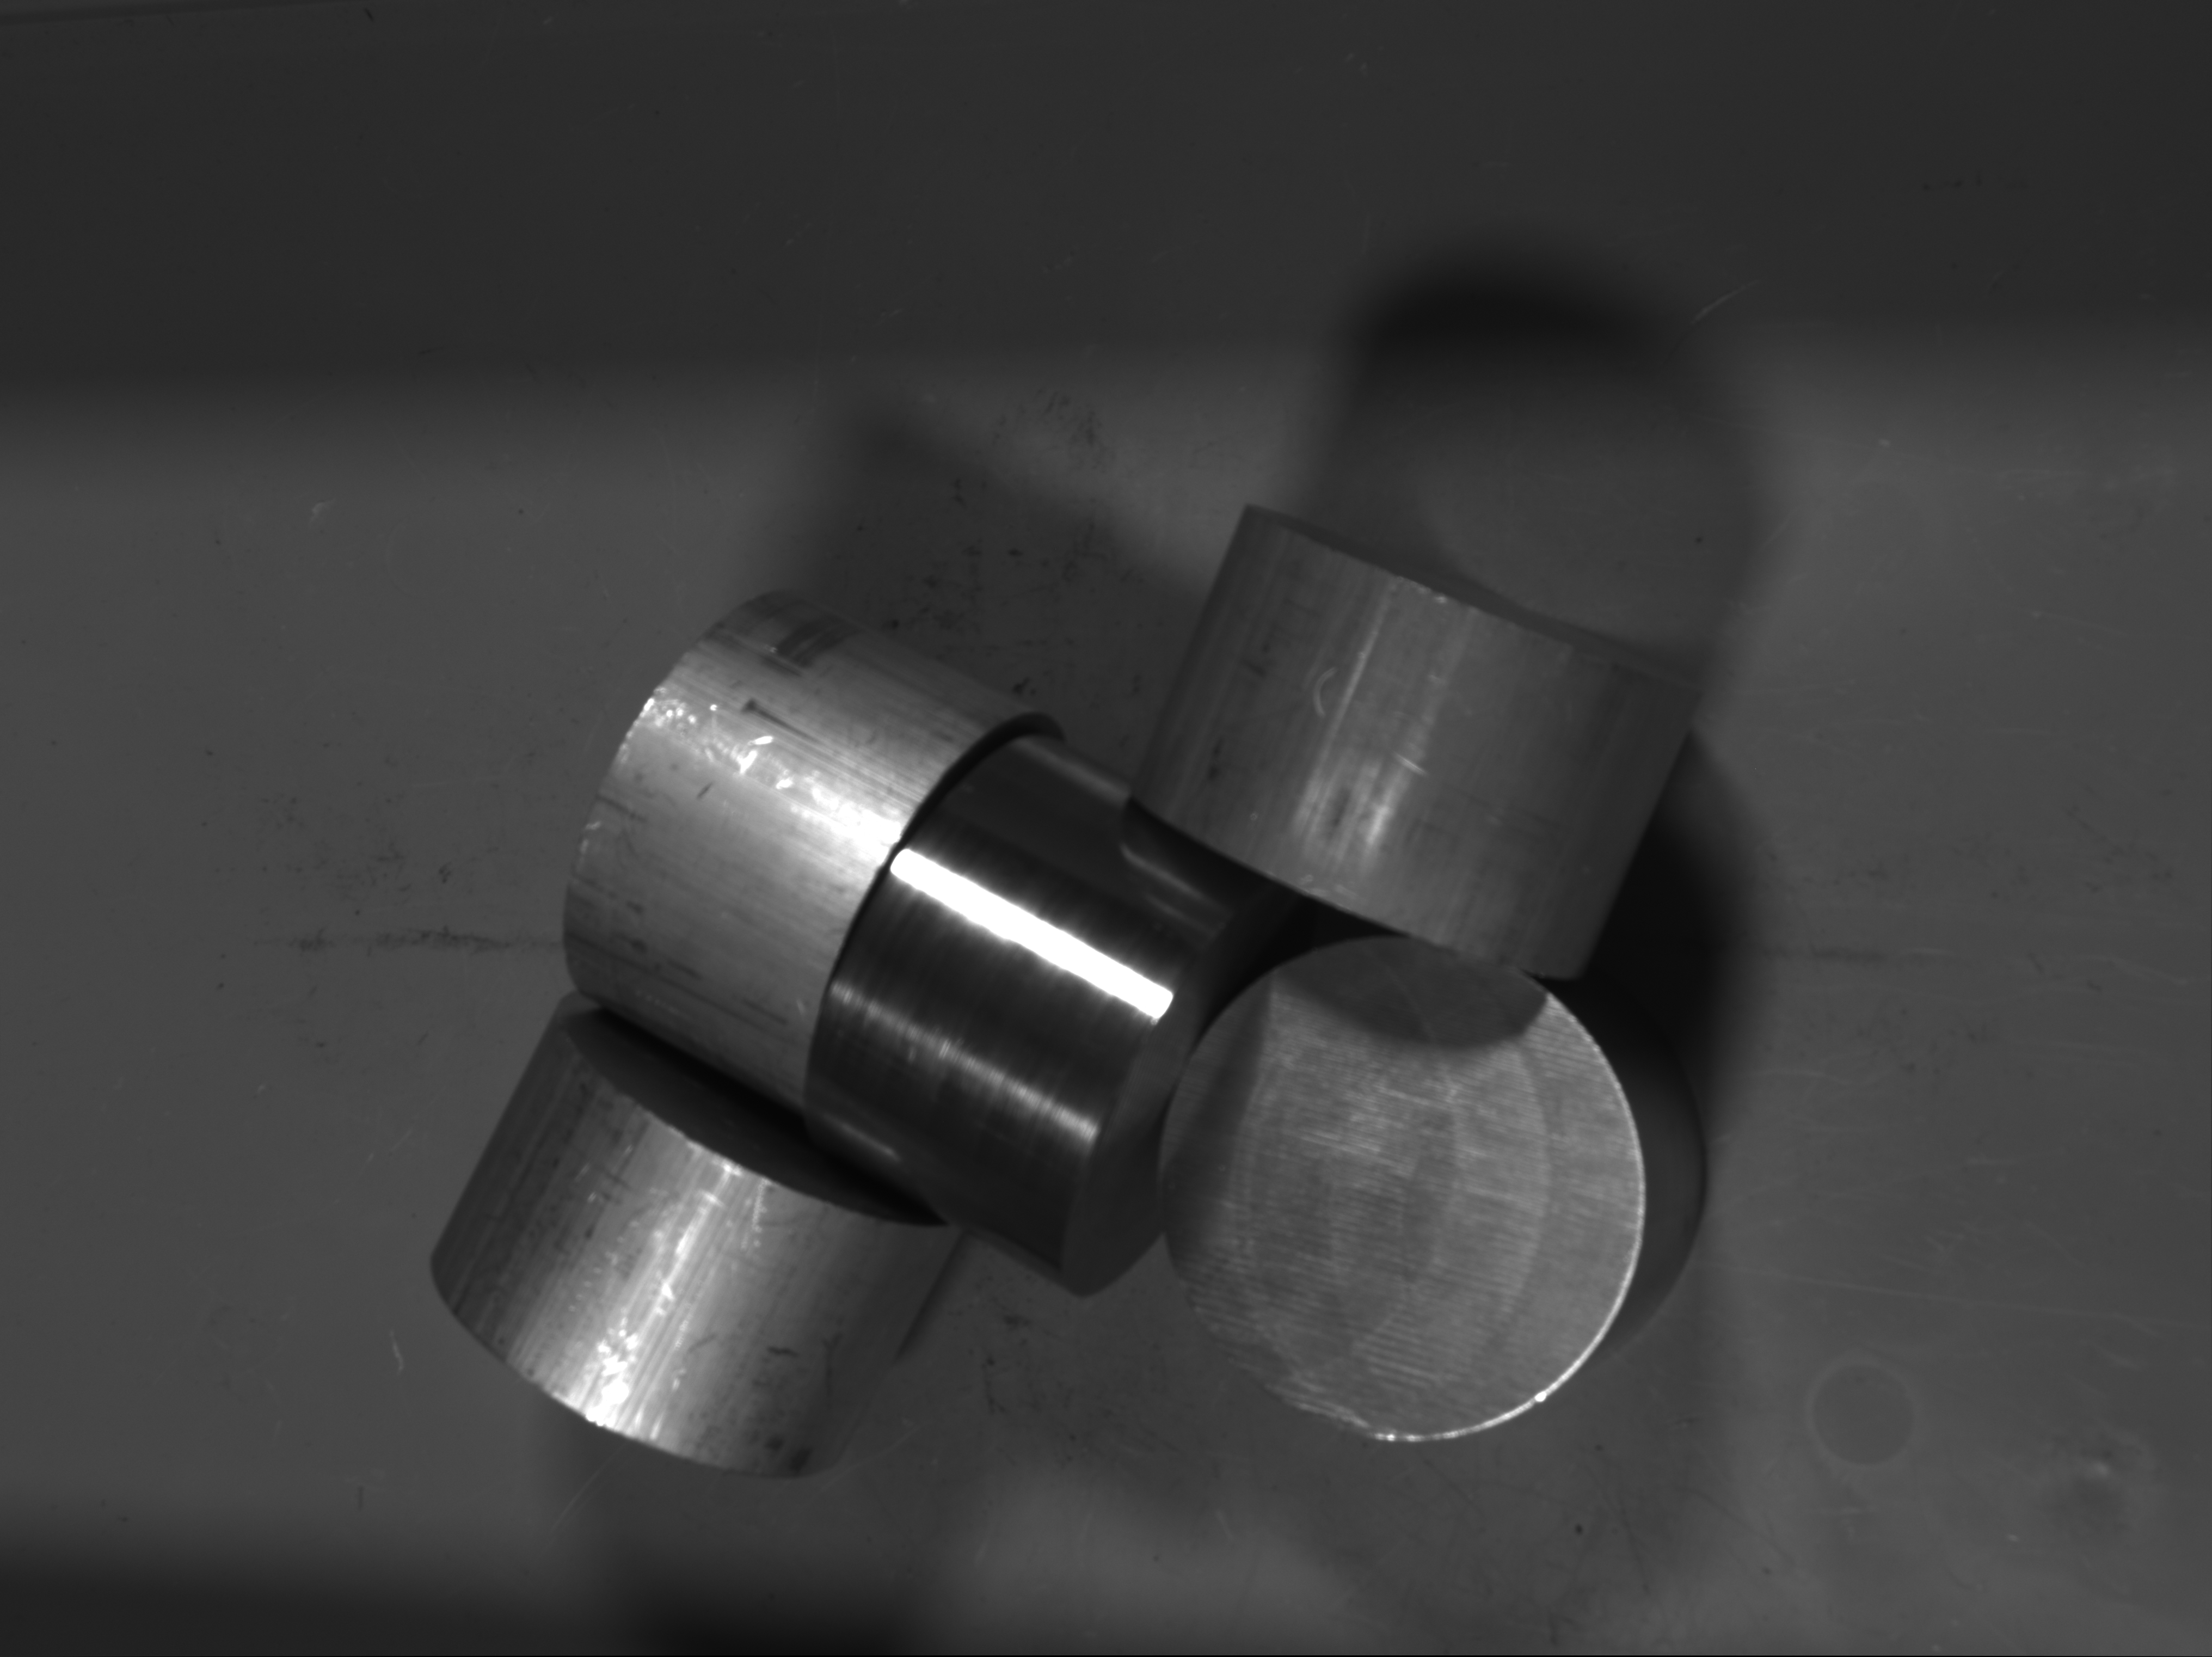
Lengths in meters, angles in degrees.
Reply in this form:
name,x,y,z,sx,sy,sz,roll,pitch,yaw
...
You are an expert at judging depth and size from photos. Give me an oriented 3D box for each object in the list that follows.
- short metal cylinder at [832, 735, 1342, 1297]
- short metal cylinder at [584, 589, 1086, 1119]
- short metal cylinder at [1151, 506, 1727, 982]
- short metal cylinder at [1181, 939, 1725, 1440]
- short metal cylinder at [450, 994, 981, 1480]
name,x,y,z,sx,sy,sz,roll,pitch,yaw
short metal cylinder,-0.002,0.031,0.615,0.050,0.080,0.080,28,99,18
short metal cylinder,-0.045,0.006,0.630,0.050,0.080,0.080,27,99,18
short metal cylinder,0.054,-0.014,0.595,0.080,0.080,0.050,25,98,18
short metal cylinder,0.058,0.058,0.608,0.080,0.050,0.080,0,90,20
short metal cylinder,-0.066,0.070,0.637,0.080,0.080,0.050,31,100,17
